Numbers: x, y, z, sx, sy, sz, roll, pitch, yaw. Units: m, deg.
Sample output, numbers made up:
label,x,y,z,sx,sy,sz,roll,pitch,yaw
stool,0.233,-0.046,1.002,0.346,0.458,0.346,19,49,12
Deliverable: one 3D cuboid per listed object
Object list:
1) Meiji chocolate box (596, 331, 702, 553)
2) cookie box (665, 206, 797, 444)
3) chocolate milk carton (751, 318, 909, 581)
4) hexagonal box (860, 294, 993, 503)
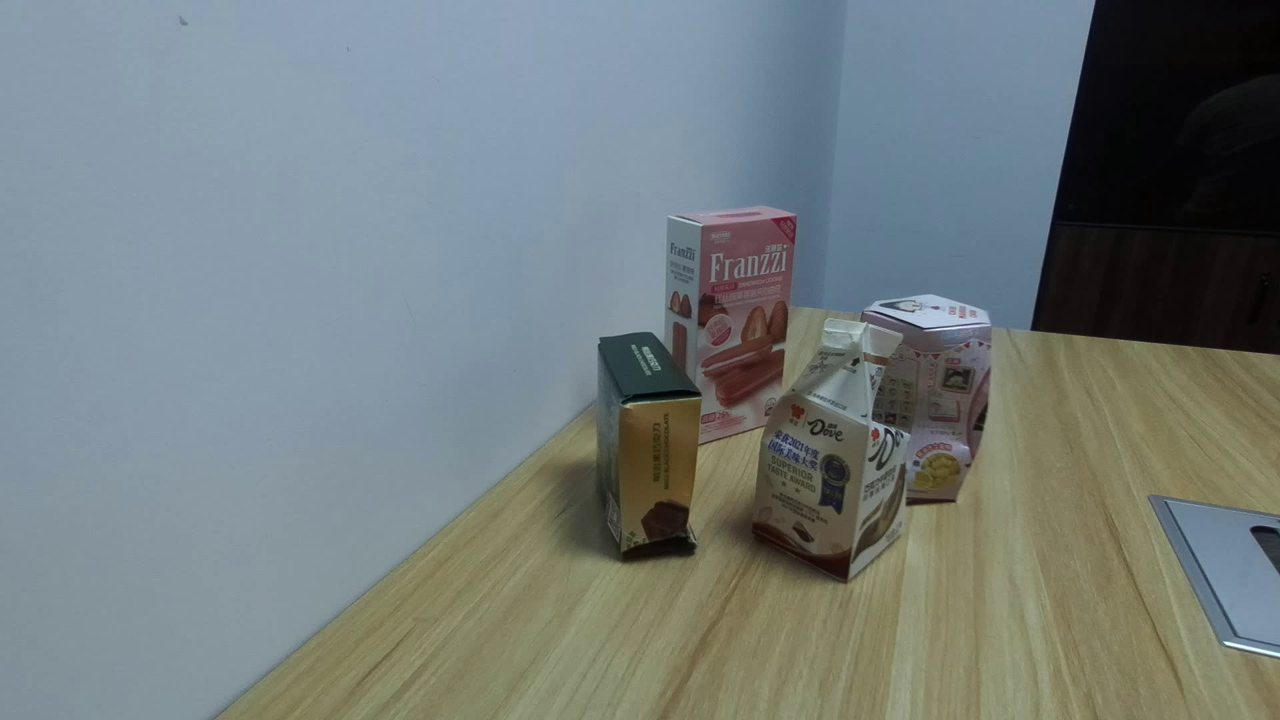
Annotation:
label,x,y,z,sx,sy,sz,roll,pitch,yaw
Meiji chocolate box,0.001,0.053,0.471,0.058,0.116,0.122,-3,19,-10
cookie box,0.072,-0.028,0.584,0.096,0.184,0.048,-12,26,-29
chocolate milk carton,0.123,0.044,0.432,0.073,0.155,0.076,20,28,40
hexagonal box,0.198,0.028,0.507,0.093,0.134,0.088,-4,21,-13
